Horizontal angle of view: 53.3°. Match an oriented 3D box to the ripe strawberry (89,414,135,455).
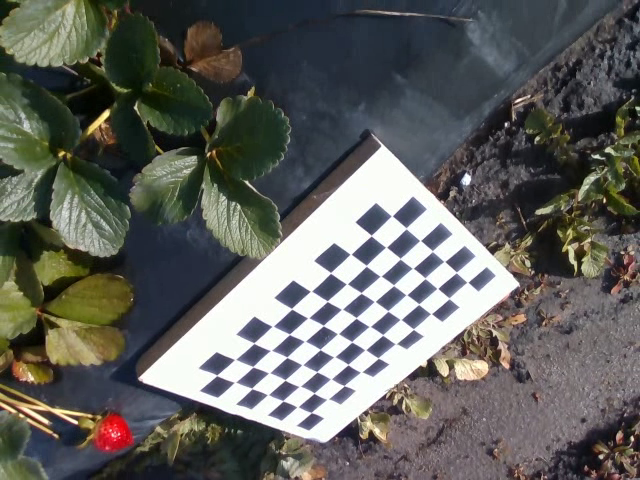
[{"bbox_3d":[-0.182,0.174,0.559,0.044,0.040,0.037,20,29,-24],"label":"ripe strawberry"}]
